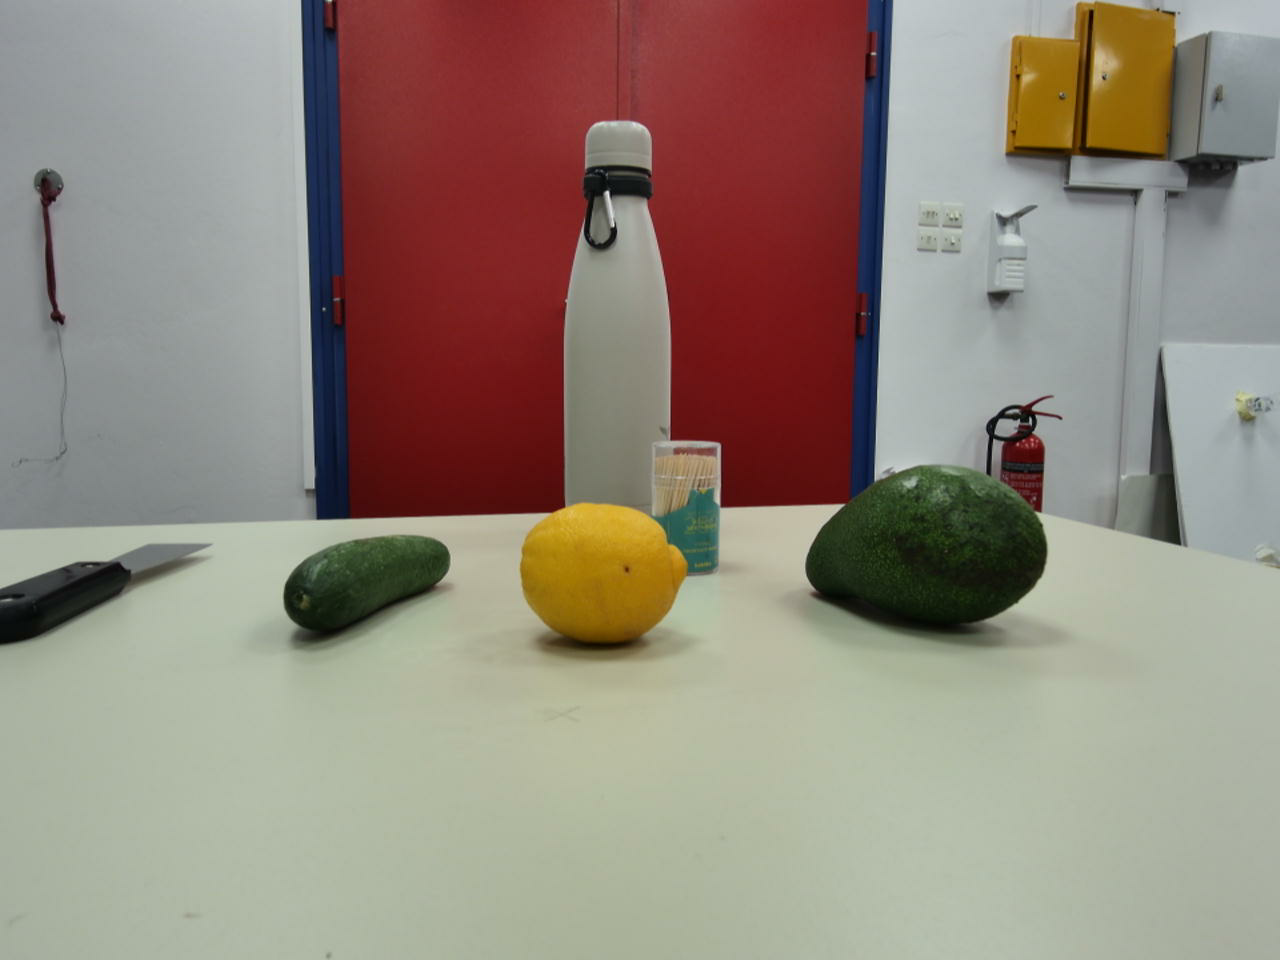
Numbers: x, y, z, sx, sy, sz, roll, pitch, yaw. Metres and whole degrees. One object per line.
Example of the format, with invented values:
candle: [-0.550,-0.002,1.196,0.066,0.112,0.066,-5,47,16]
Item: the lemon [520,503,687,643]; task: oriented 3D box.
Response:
lemon: [-0.017,0.040,0.429,0.067,0.059,0.060,3,5,29]
